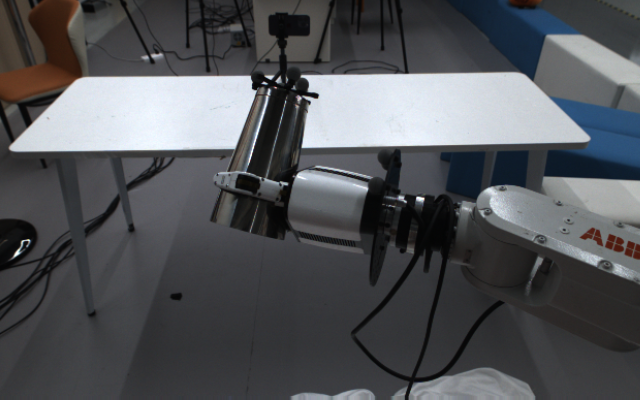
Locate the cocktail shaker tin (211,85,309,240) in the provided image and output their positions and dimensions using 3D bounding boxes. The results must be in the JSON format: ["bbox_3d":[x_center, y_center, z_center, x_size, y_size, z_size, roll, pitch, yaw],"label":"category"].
[{"bbox_3d":[-0.066,-0.045,0.588,0.093,0.170,0.093,15,-4,1],"label":"cocktail shaker tin"}]
